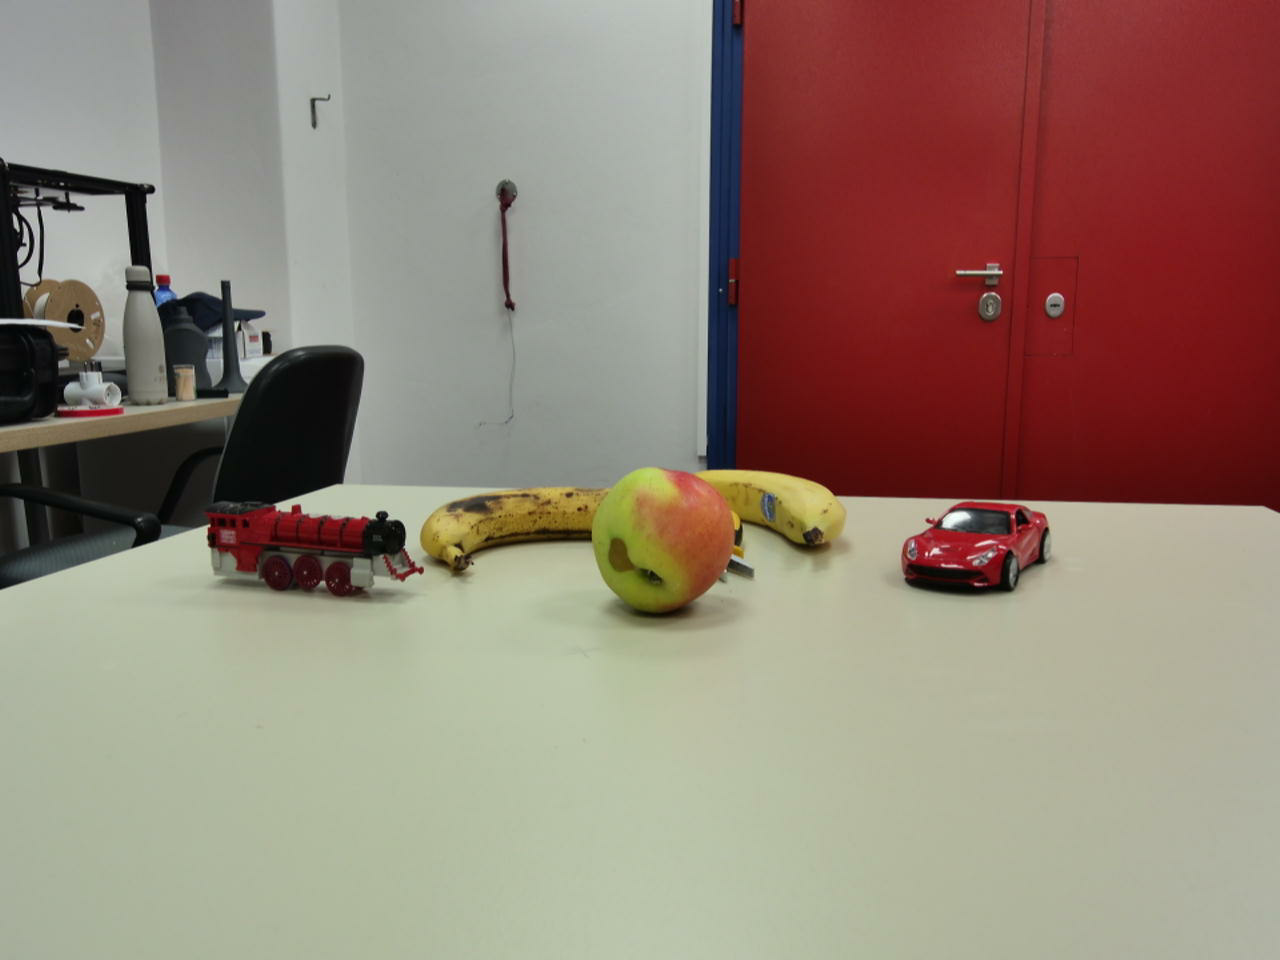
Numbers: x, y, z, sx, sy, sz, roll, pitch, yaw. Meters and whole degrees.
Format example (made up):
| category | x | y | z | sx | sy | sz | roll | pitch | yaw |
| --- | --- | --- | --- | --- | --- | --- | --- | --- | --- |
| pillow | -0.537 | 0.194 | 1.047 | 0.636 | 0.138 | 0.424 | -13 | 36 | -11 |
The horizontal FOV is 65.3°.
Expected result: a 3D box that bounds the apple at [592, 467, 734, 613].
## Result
| category | x | y | z | sx | sy | sz | roll | pitch | yaw |
| --- | --- | --- | --- | --- | --- | --- | --- | --- | --- |
| apple | 0.013 | 0.031 | 0.526 | 0.075 | 0.074 | 0.075 | -1 | 6 | -8 |
